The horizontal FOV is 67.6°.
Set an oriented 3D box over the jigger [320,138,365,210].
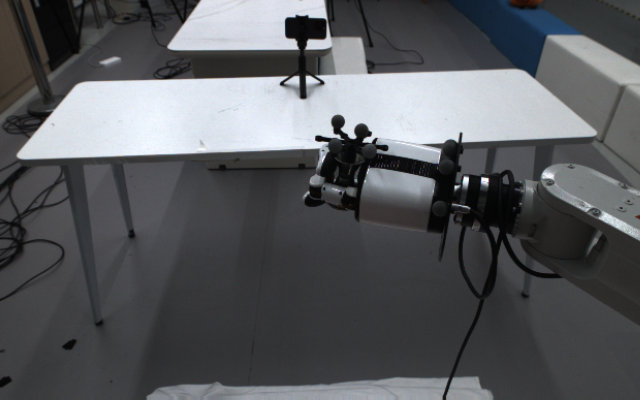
[{"bbox_3d":[0.031,-0.028,0.618,0.043,0.071,0.043,6,32,-4],"label":"jigger"}]
